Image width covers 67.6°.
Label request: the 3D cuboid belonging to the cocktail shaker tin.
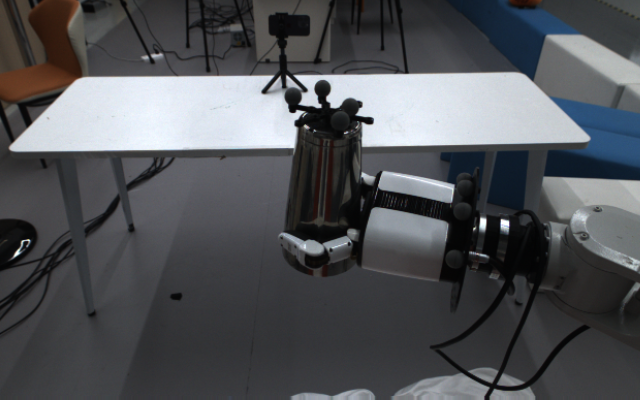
[{"bbox_3d":[0.007,-0.009,0.536,0.093,0.170,0.093,3,34,-2],"label":"cocktail shaker tin"}]
